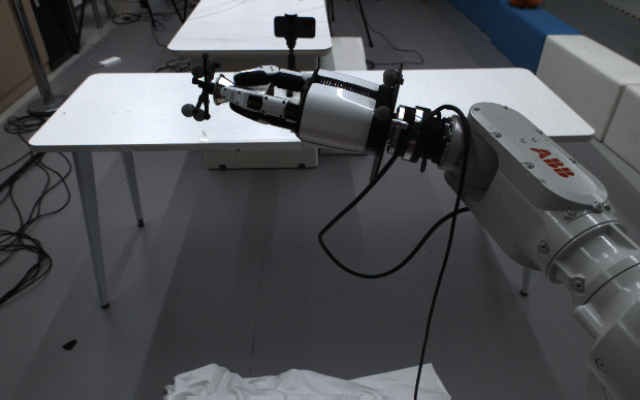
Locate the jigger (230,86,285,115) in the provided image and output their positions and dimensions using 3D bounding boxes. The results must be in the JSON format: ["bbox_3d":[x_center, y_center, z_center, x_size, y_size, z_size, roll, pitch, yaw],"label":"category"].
[{"bbox_3d":[-0.091,-0.138,0.621,0.071,0.043,0.043,11,35,5],"label":"jigger"}]
